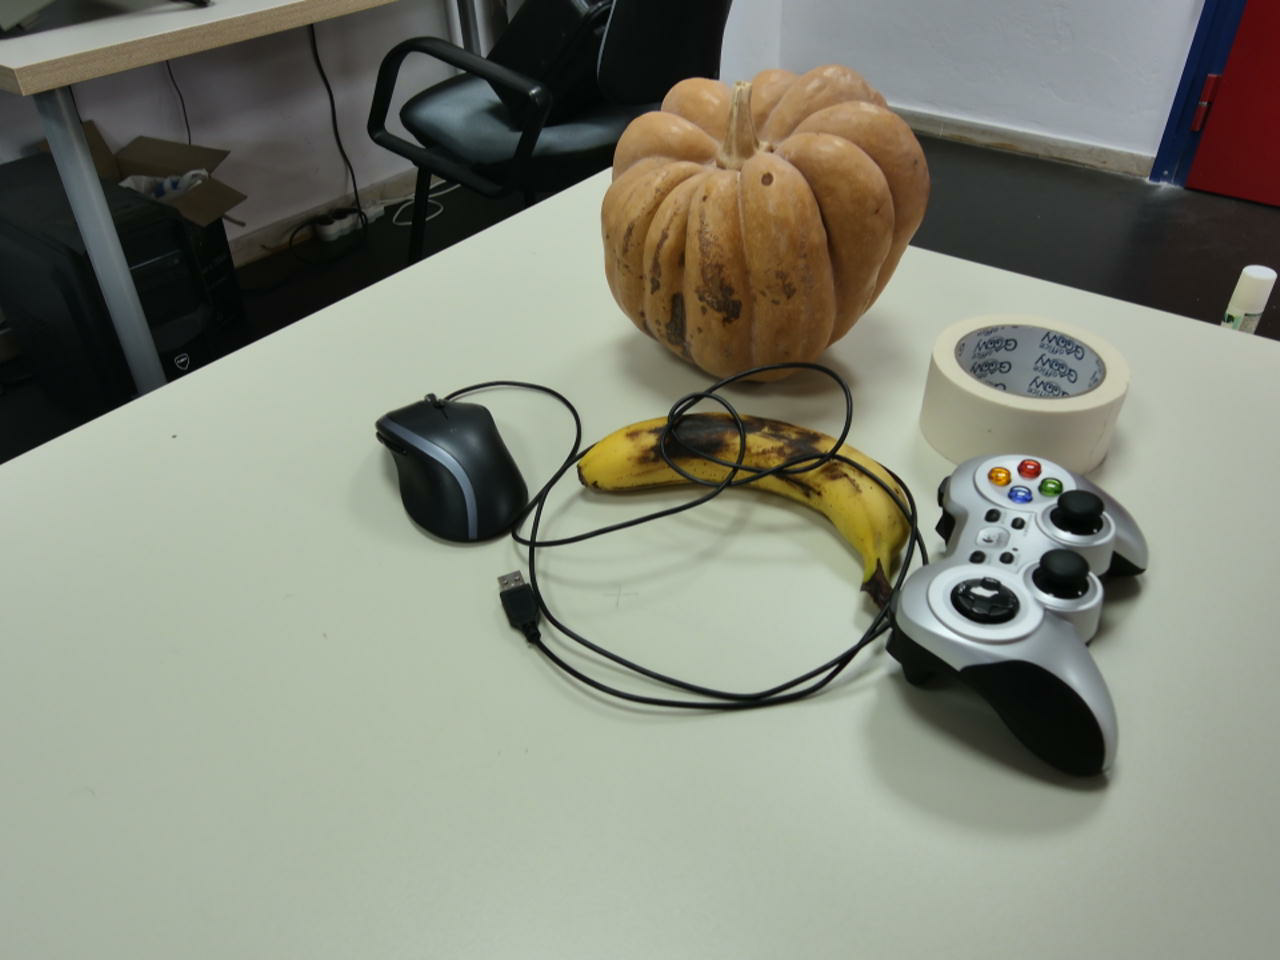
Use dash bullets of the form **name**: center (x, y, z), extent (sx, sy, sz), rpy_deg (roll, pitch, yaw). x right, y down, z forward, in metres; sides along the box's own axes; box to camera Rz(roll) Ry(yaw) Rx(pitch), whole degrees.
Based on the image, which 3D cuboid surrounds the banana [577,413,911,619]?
- **banana**: center (0.064, 0.002, 0.525), extent (0.187, 0.039, 0.094), rpy_deg (24, 43, 29)
